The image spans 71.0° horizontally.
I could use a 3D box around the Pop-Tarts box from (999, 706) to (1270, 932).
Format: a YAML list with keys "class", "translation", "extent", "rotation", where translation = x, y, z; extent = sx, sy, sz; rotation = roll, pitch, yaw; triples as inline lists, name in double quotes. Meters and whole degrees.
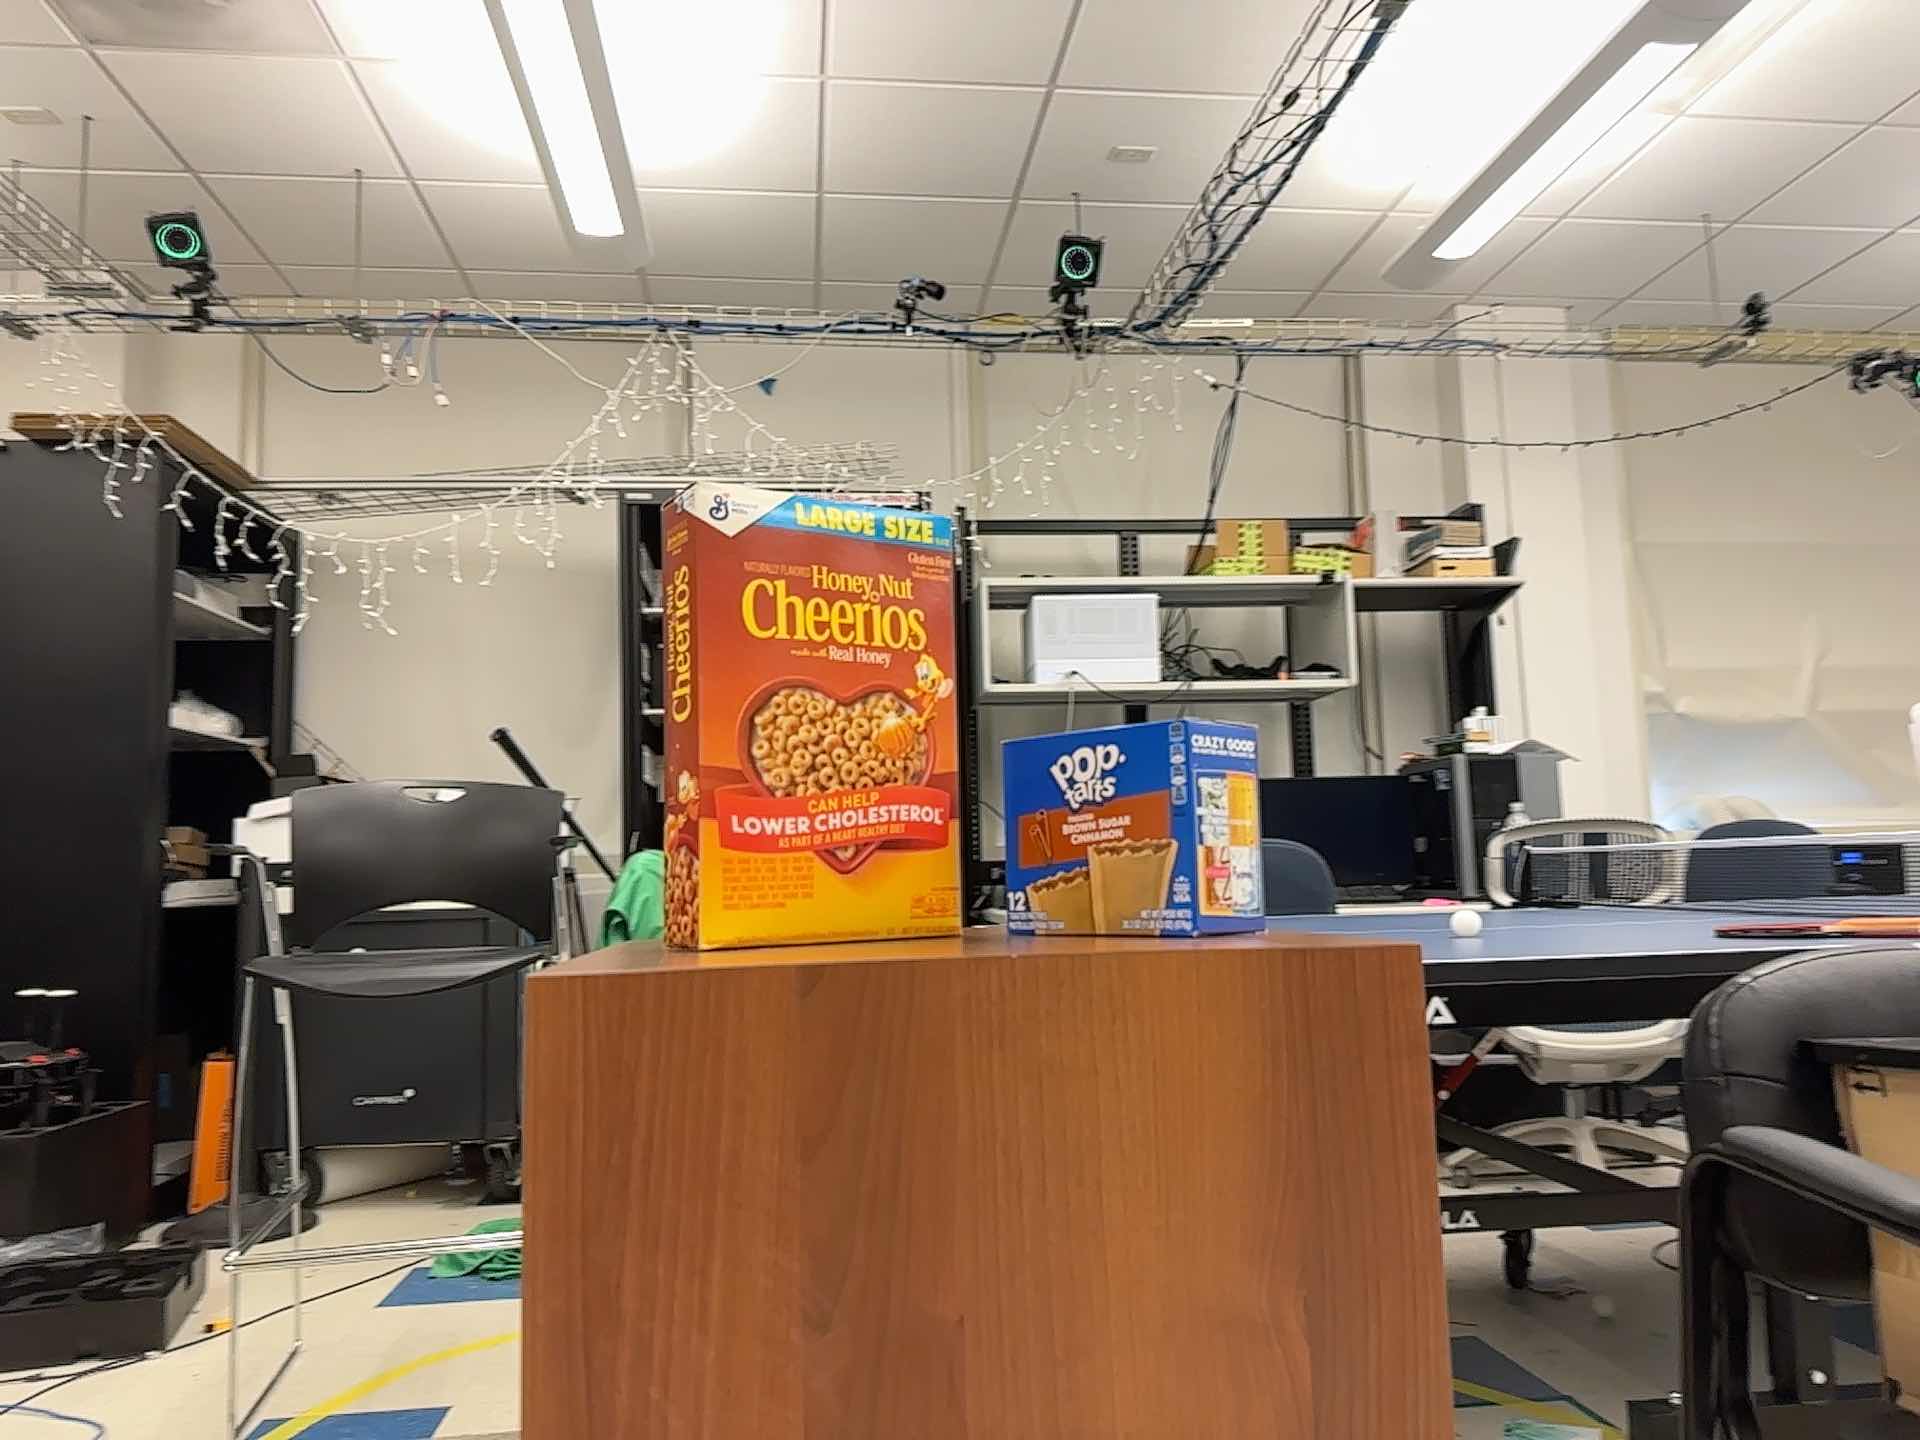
- class: "Pop-Tarts box"
  translation: [0.115, 0.072, 0.923]
  extent: [0.075, 0.135, 0.161]
  rotation: [7, -12, -45]

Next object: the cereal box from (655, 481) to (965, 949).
- class: "cereal box"
  translation: [-0.103, -0.001, 0.934]
  extent: [0.195, 0.297, 0.065]
  rotation: [4, -10, -35]
